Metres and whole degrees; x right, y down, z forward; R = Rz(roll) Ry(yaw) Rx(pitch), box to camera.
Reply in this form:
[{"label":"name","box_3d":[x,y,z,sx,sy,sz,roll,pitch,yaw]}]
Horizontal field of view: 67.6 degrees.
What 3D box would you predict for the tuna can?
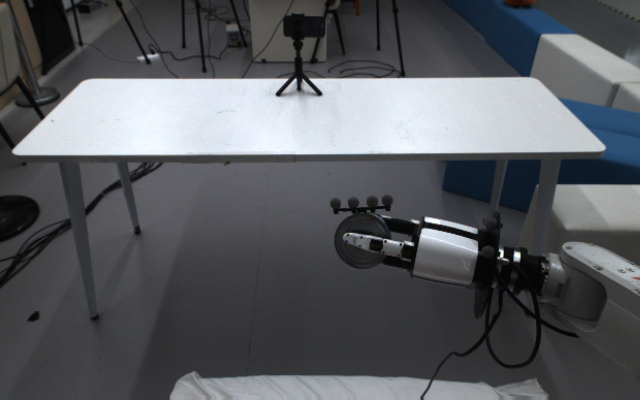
[{"label":"tuna can","box_3d":[0.068,0.061,0.741,0.085,0.085,0.034,10,2,12]}]
